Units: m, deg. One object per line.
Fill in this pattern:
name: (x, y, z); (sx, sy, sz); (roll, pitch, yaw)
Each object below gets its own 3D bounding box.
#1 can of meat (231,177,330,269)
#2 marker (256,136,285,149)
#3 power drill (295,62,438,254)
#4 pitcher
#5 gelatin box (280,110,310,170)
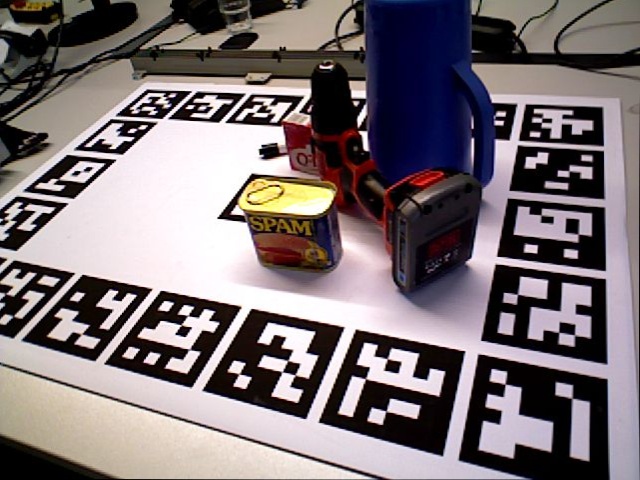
can of meat: (-0.038, -0.020, 0.584); (0.102, 0.085, 0.056); (9, 43, 21)
marker: (-0.031, -0.150, 0.774); (0.121, 0.020, 0.019); (-10, 42, 4)
power drill: (0.041, -0.087, 0.567); (0.056, 0.188, 0.186); (-31, 51, -18)
pitcher: (0.119, -0.164, 0.599); (0.131, 0.246, 0.189); (-33, 39, -18)
gelatin box: (-0.004, -0.124, 0.703); (0.090, 0.074, 0.029); (19, 53, 28)
